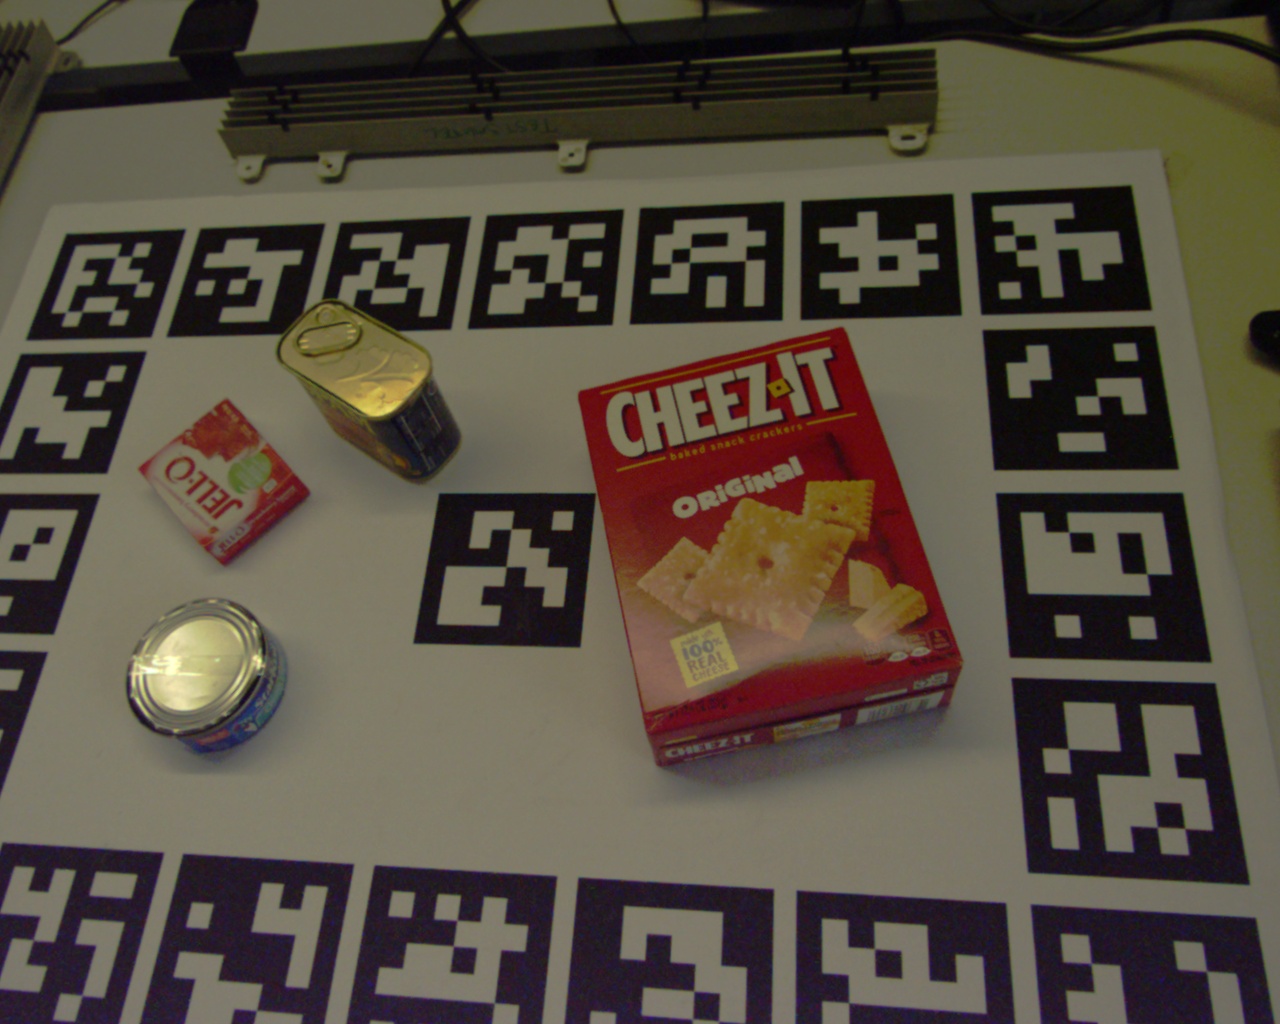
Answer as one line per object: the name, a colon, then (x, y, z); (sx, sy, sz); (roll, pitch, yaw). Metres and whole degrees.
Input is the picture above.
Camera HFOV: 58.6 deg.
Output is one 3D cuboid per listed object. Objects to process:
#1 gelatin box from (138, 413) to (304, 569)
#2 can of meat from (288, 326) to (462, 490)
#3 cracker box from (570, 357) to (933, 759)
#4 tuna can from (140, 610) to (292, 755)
gelatin box: (-0.288, -0.016, 0.786); (0.090, 0.030, 0.073); (40, 70, 23)
can of meat: (-0.177, -0.068, 0.775); (0.103, 0.083, 0.057); (27, 67, 22)
cracker box: (0.059, 0.022, 0.691); (0.164, 0.071, 0.215); (-15, 58, -1)
tuna can: (-0.262, 0.106, 0.708); (0.086, 0.033, 0.086); (-4, 64, 8)
